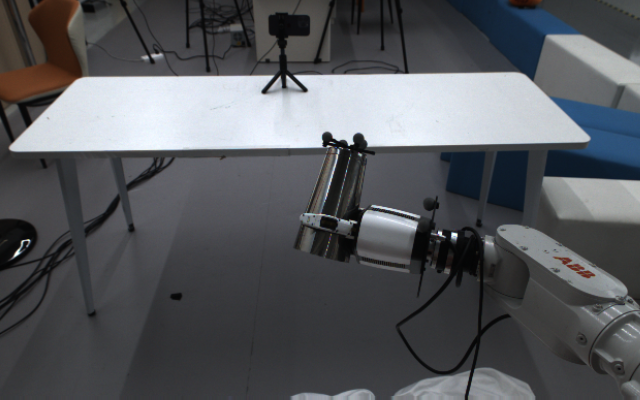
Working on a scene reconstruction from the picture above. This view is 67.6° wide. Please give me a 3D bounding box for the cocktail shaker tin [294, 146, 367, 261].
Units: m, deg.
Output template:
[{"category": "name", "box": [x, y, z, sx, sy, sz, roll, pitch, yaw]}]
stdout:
[{"category": "cocktail shaker tin", "box": [0.022, 0.005, 0.774, 0.093, 0.170, 0.093, 15, -4, 1]}]
